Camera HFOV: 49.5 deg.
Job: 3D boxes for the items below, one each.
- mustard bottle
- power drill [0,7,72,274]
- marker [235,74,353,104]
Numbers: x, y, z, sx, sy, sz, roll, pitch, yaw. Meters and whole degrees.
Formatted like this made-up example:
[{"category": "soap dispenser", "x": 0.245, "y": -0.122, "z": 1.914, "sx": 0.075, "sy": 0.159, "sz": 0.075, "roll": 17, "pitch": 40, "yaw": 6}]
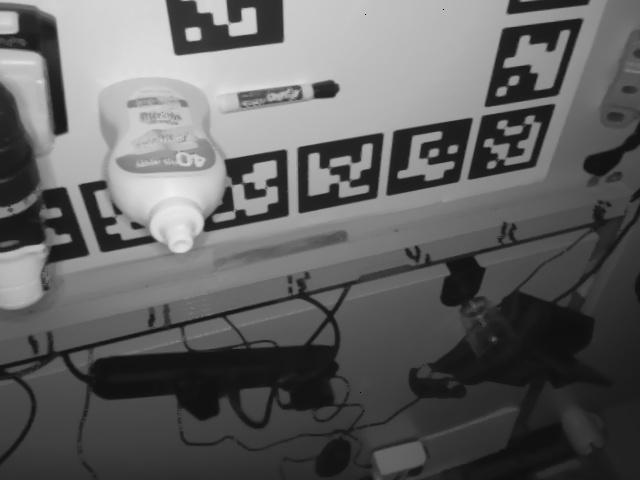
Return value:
[{"category": "mustard bottle", "x": -0.121, "y": -0.079, "z": 0.604, "sx": 0.097, "sy": 0.192, "sz": 0.057, "roll": -1, "pitch": 133, "yaw": -20}, {"category": "power drill", "x": -0.216, "y": -0.095, "z": 0.521, "sx": 0.058, "sy": 0.187, "sz": 0.182, "roll": 1, "pitch": 134, "yaw": -21}, {"category": "marker", "x": -0.024, "y": -0.153, "z": 0.700, "sx": 0.122, "sy": 0.019, "sz": 0.019, "roll": -9, "pitch": 134, "yaw": -16}]
